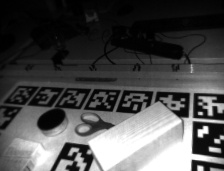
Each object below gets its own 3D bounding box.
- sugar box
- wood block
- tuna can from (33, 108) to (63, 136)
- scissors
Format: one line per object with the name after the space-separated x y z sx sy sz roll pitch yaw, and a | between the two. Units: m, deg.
-0.272 0.227 0.569 0.092 0.046 0.177 6 45 23 | sugar box
0.050 0.142 0.527 0.207 0.092 0.088 -29 41 -15 | wood block
-0.200 0.114 0.675 0.085 0.034 0.085 -9 42 9 | tuna can
-0.033 0.121 0.631 0.200 0.016 0.088 6 45 27 | scissors
